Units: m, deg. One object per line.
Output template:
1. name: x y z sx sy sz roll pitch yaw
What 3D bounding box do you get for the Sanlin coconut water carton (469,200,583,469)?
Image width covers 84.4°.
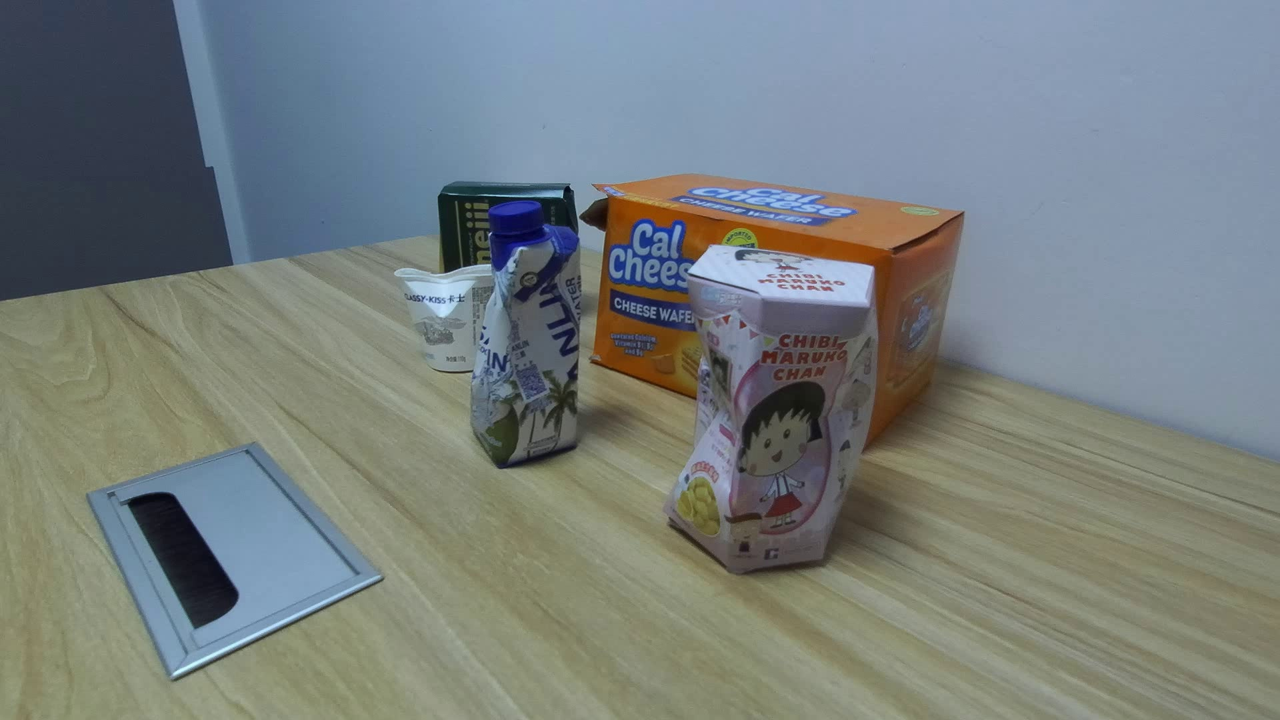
1. Sanlin coconut water carton: -0.057 -0.014 0.401 0.069 0.144 0.056 -4 28 -34

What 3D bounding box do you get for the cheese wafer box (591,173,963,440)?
1. cheese wafer box: 0.089 -0.052 0.506 0.226 0.137 0.150 19 28 33

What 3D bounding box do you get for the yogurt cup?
1. yogurt cup: -0.132 -0.035 0.518 0.076 0.071 0.053 -15 31 -25

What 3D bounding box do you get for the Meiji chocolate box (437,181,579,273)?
1. Meiji chocolate box: -0.110 -0.096 0.618 0.122 0.116 0.058 0 20 6
